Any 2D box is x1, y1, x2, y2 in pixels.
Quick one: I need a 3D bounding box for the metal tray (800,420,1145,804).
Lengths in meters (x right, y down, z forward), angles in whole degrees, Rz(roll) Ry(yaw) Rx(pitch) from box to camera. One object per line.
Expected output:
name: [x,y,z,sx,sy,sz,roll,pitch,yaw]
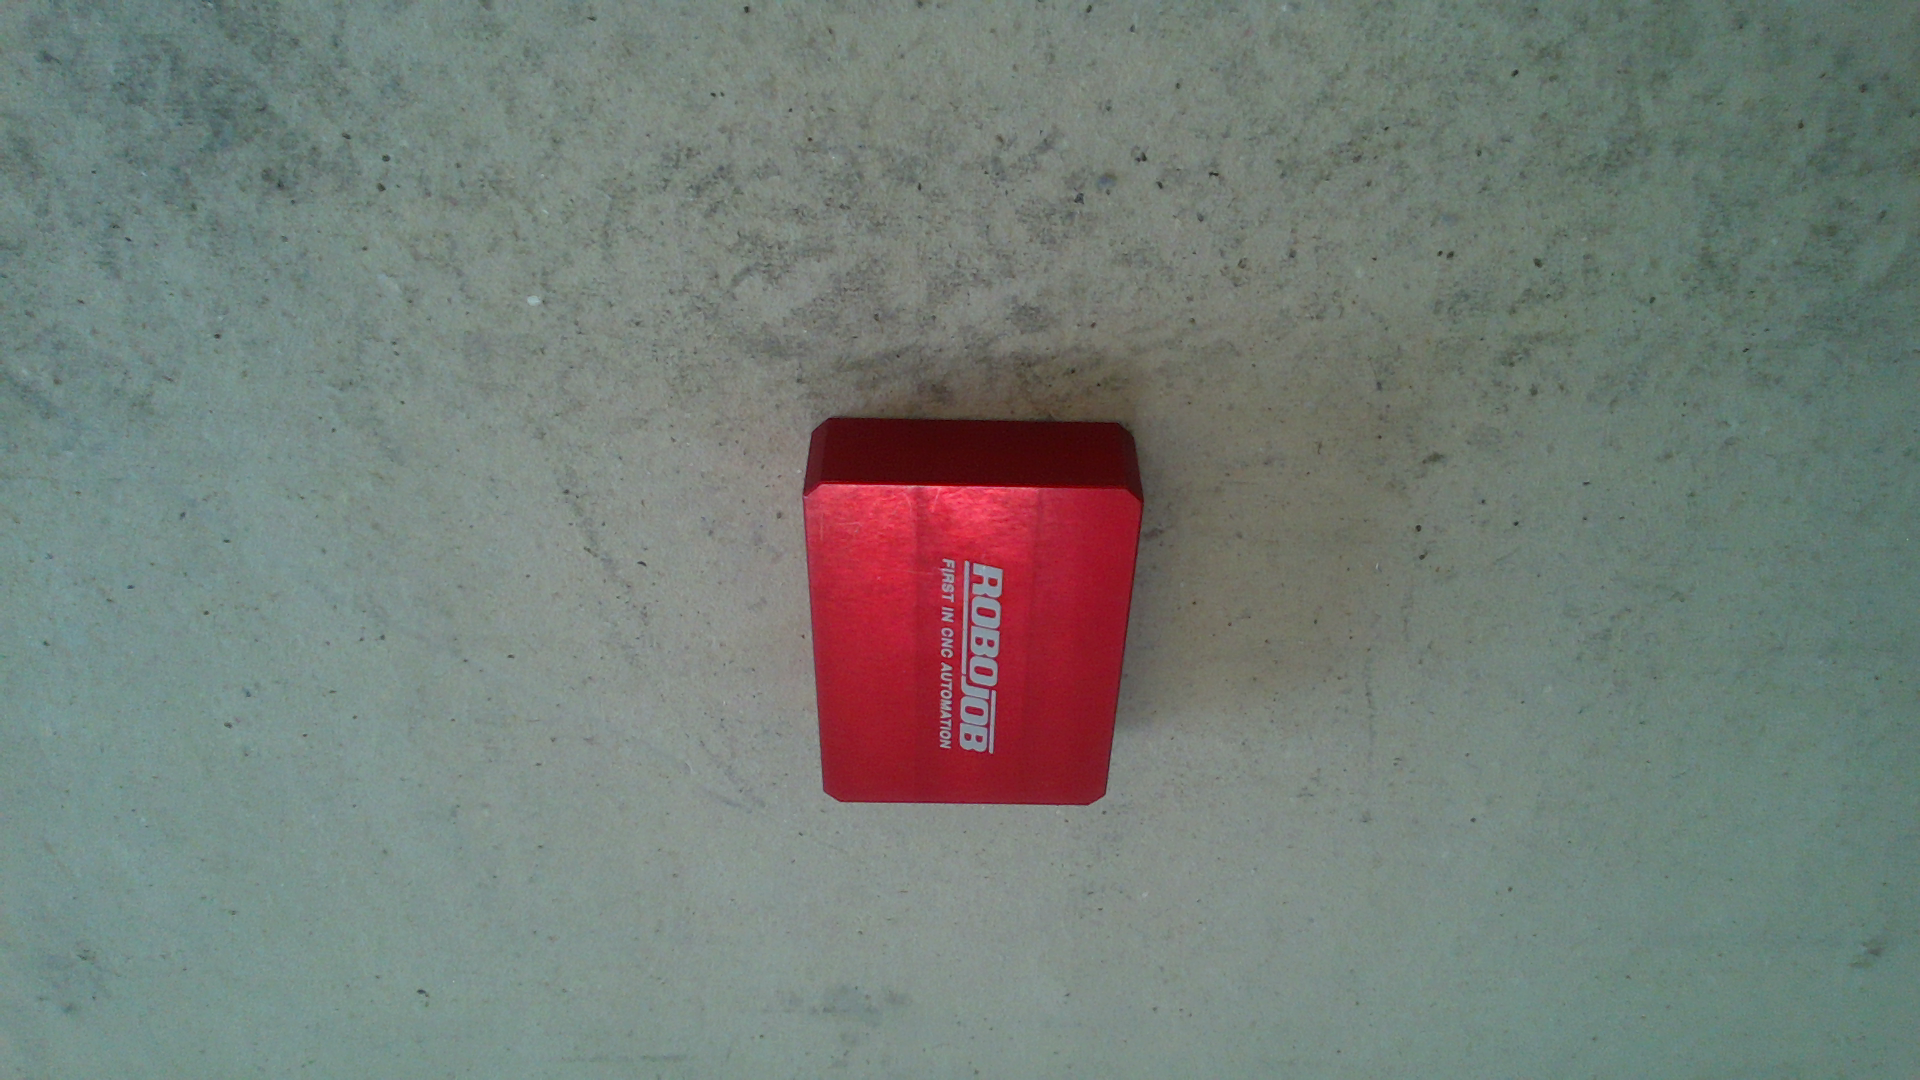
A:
metal tray: [0.002,0.026,0.409,0.090,0.030,0.130,0,131,-1]
